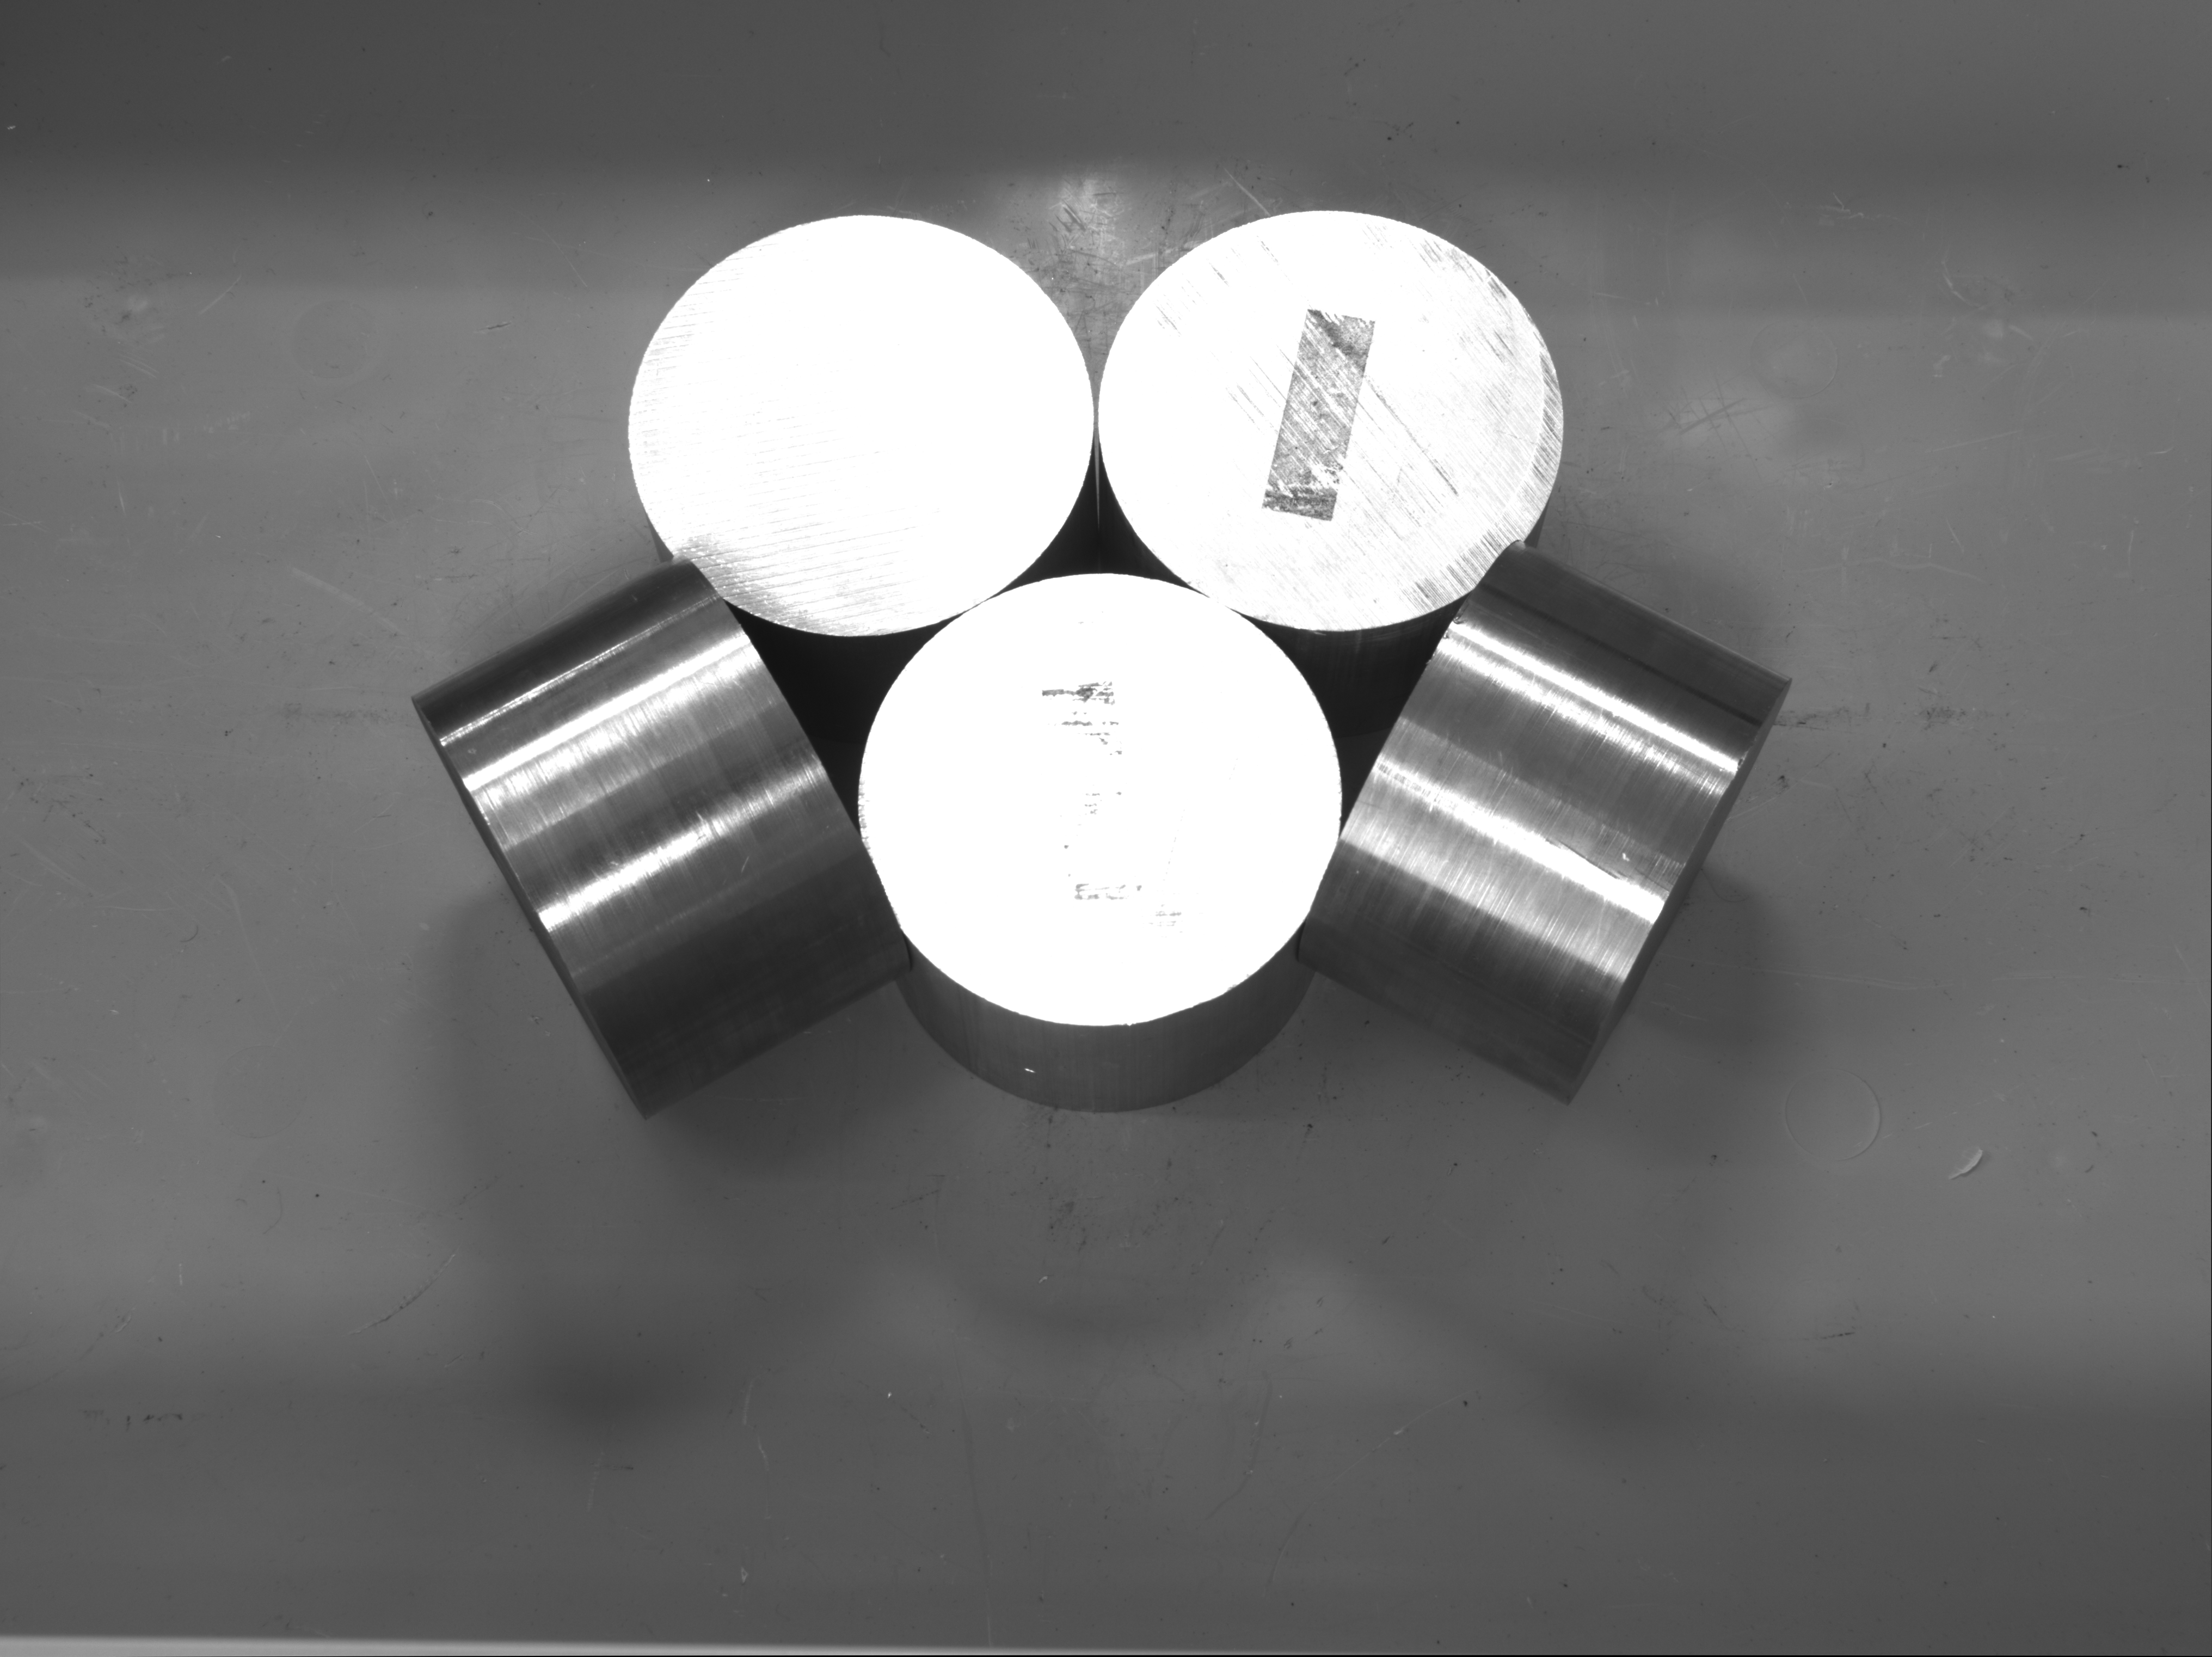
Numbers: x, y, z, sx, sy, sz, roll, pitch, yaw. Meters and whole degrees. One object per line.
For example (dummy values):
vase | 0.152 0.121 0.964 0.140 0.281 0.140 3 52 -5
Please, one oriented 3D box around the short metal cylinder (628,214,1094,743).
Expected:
short metal cylinder | -0.042 -0.062 0.653 0.080 0.050 0.080 0 70 0

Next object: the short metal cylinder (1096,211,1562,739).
short metal cylinder | 0.038 -0.062 0.653 0.080 0.050 0.080 0 70 0

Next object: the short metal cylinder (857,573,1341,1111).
short metal cylinder | -0.001 0.003 0.629 0.080 0.050 0.080 0 70 0

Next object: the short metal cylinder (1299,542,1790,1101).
short metal cylinder | 0.073 -0.001 0.614 0.050 0.080 0.080 28 72 10

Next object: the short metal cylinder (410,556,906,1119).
short metal cylinder | -0.075 0.001 0.614 0.050 0.080 0.080 -29 72 -10
